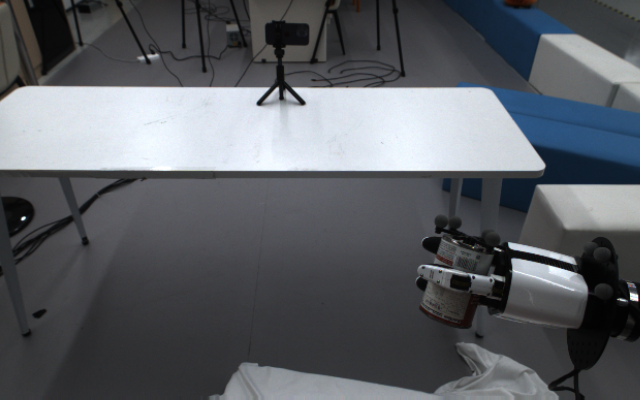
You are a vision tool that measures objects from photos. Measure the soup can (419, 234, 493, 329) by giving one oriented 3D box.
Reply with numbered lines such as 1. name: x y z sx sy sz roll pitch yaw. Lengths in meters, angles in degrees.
1. soup can: 0.175 0.100 0.613 0.067 0.101 0.067 15 7 -2
